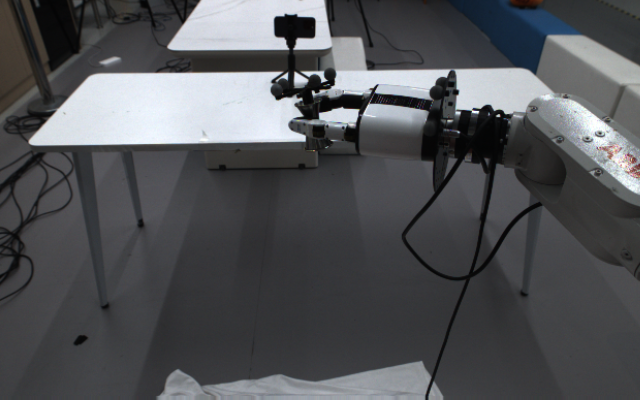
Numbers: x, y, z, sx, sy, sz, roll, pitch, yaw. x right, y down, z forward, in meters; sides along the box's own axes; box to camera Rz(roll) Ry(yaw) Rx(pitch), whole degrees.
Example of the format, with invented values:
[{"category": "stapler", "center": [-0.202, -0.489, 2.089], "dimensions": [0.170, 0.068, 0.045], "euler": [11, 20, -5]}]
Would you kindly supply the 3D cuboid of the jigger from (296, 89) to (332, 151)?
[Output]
[{"category": "jigger", "center": [-0.009, -0.109, 0.695], "dimensions": [0.043, 0.071, 0.043], "euler": [-11, 24, 5]}]
